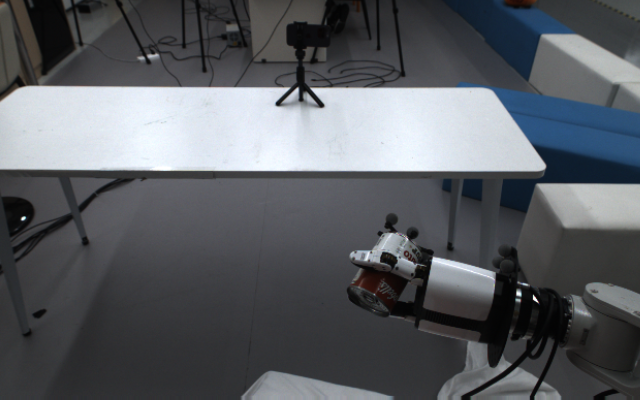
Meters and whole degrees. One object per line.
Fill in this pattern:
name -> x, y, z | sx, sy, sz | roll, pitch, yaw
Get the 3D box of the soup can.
soup can -> 0.093, 0.101, 0.673 | 0.067, 0.067, 0.101 | 22, 60, 27
